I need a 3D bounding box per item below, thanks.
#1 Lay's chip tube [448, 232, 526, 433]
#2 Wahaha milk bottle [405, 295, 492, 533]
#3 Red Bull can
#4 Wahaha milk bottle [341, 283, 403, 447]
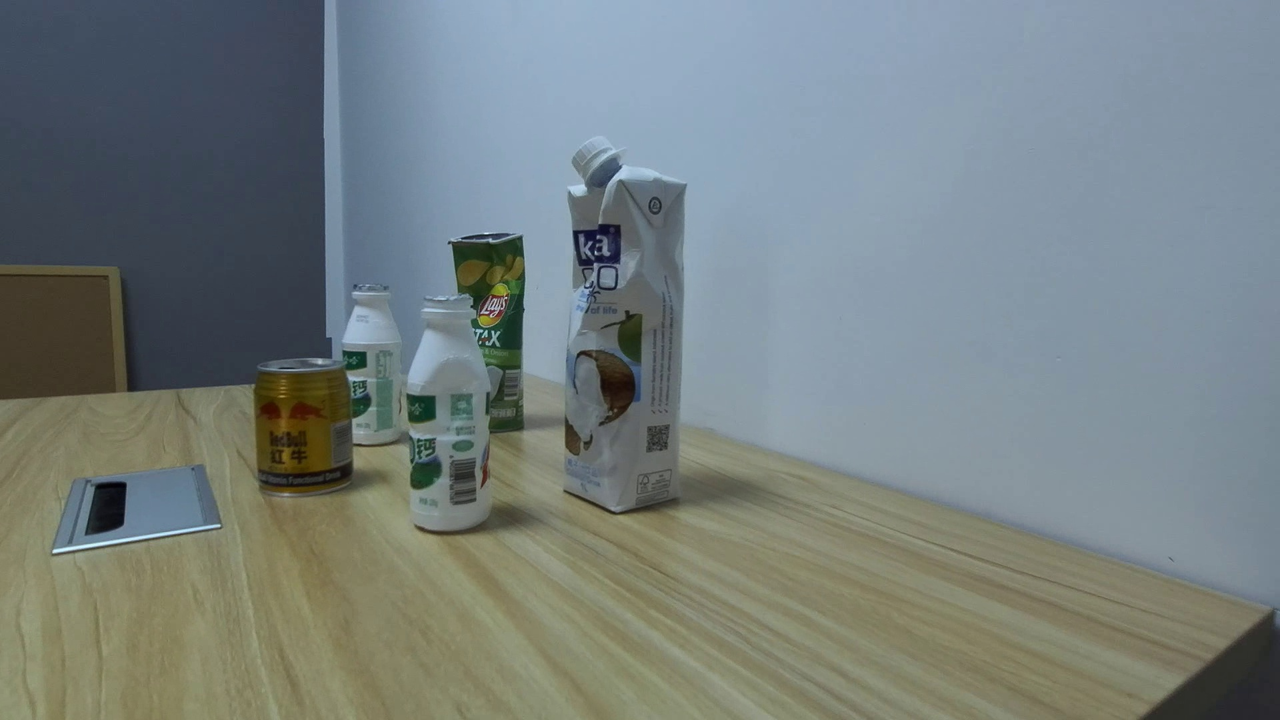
[{"bbox_3d":[-0.153,-0.029,0.728,0.077,0.201,0.069,-2,7,-6],"label":"Lay's chip tube"},{"bbox_3d":[-0.125,0.033,0.458,0.055,0.149,0.055,0,8,0],"label":"Wahaha milk bottle"},{"bbox_3d":[-0.251,0.049,0.528,0.067,0.093,0.067,0,8,0],"label":"Red Bull can"},{"bbox_3d":[-0.255,0.002,0.667,0.053,0.147,0.053,3,11,0],"label":"Wahaha milk bottle"}]
